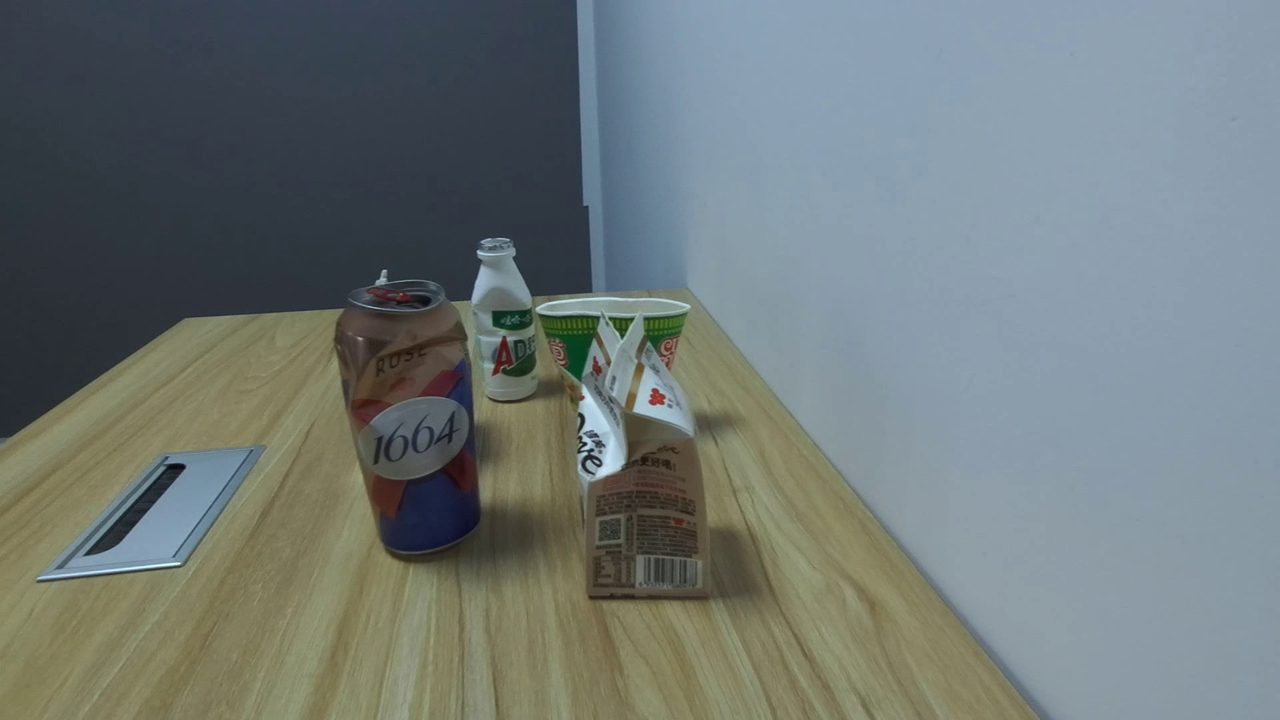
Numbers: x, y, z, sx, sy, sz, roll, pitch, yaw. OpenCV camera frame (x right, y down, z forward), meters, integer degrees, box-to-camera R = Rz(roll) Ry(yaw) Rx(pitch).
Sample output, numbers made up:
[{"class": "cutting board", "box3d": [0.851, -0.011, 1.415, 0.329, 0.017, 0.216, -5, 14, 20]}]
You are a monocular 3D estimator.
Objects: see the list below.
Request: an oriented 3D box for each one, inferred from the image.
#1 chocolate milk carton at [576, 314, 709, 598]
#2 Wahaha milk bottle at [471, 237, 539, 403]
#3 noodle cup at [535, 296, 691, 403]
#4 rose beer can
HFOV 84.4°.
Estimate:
[{"class": "chocolate milk carton", "box3d": [0.000, 0.052, 0.409, 0.073, 0.156, 0.076, -3, 23, 3]}, {"class": "Wahaha milk bottle", "box3d": [-0.127, -0.037, 0.657, 0.056, 0.148, 0.056, 0, 21, 0]}, {"class": "noodle cup", "box3d": [-0.021, 0.005, 0.607, 0.114, 0.111, 0.070, 8, 22, 27]}, {"class": "rose beer can", "box3d": [-0.140, 0.039, 0.441, 0.076, 0.167, 0.065, -12, 26, -30]}]
